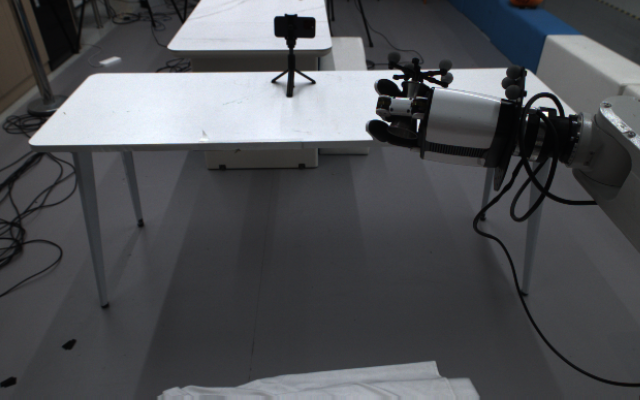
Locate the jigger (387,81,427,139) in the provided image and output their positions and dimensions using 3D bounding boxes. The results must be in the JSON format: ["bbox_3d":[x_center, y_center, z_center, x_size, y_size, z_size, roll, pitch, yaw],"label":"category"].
[{"bbox_3d":[0.123,-0.122,0.656,0.043,0.071,0.043,16,-7,2],"label":"jigger"}]
